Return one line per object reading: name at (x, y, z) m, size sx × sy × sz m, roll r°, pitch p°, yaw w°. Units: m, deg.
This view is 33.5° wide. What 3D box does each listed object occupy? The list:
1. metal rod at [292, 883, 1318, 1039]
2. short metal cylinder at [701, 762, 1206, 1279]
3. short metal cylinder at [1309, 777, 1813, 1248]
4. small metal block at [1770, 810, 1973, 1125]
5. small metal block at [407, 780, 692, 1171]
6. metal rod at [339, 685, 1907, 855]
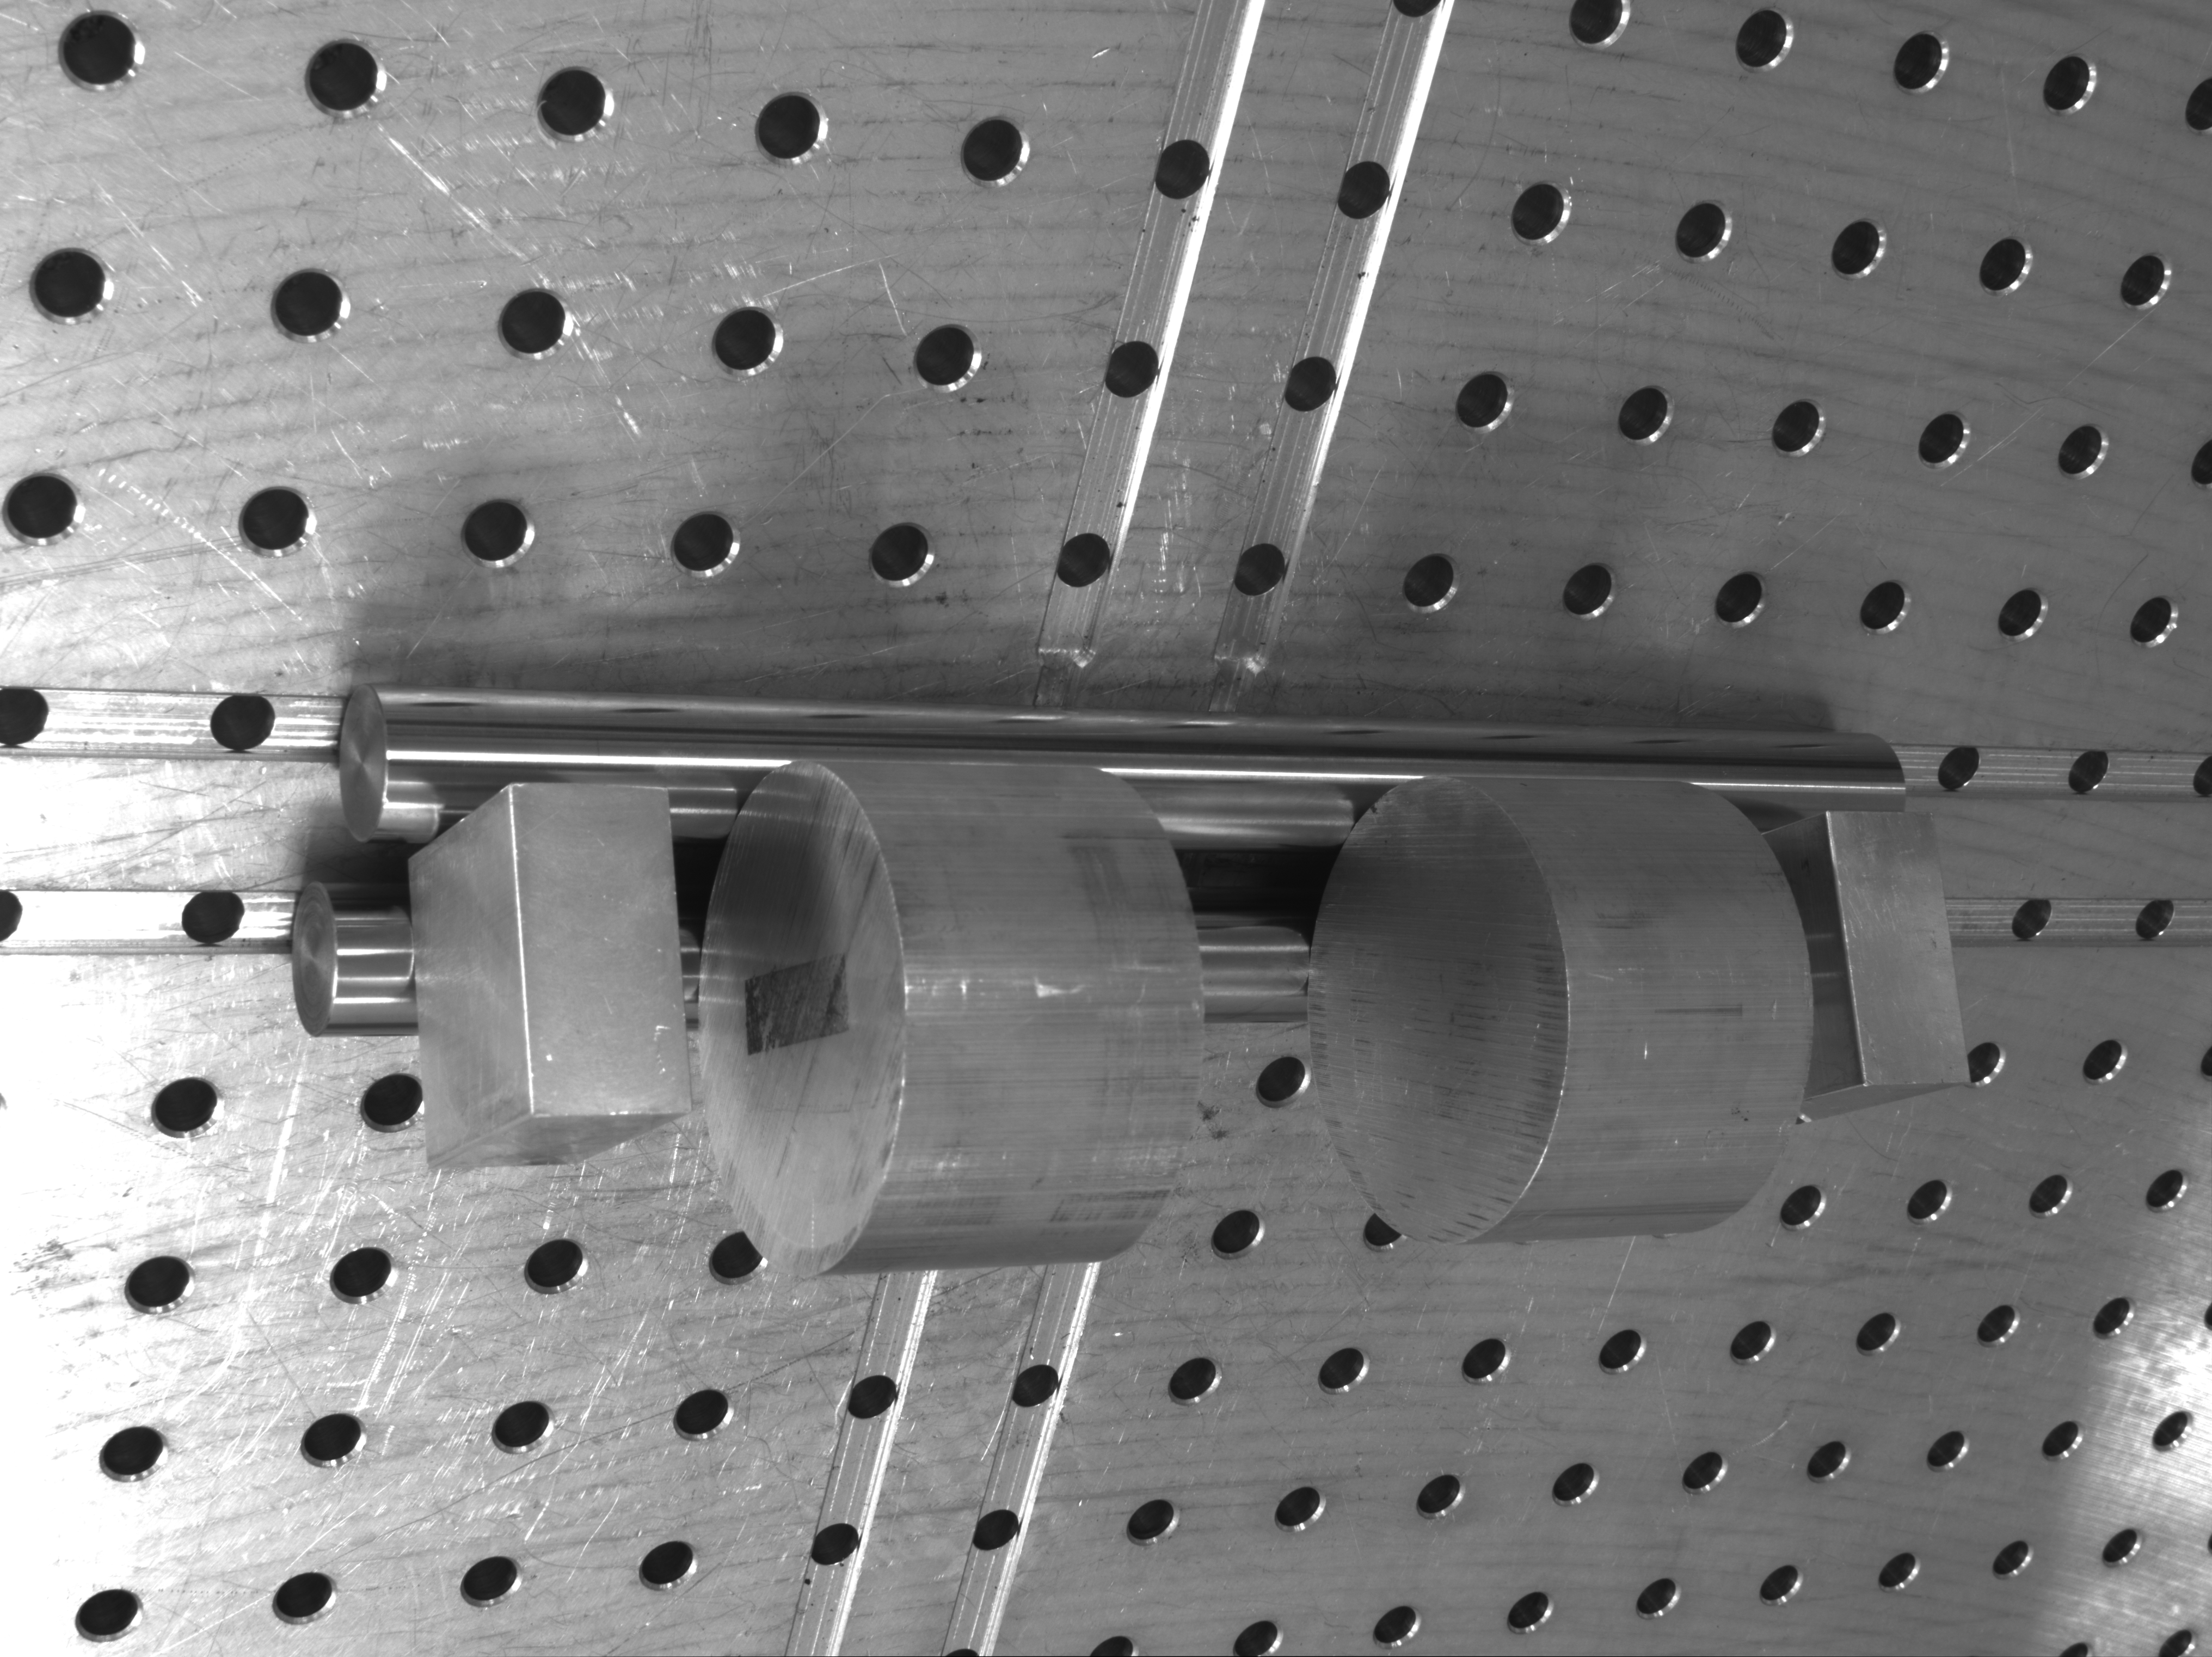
metal rod at (0.006, 0.023, 0.658) m, size 0.301 × 0.025 × 0.025 m, roll 1°, pitch 118°, yaw -29°
short metal cylinder at (-0.026, 0.030, 0.582) m, size 0.050 × 0.080 × 0.080 m, roll 1°, pitch 118°, yaw -28°
short metal cylinder at (0.078, 0.032, 0.638) m, size 0.050 × 0.080 × 0.080 m, roll 1°, pitch 118°, yaw -28°
small metal block at (0.131, 0.027, 0.682) m, size 0.025 × 0.050 × 0.050 m, roll 1°, pitch 77°, yaw -28°
small metal block at (-0.086, 0.023, 0.564) m, size 0.025 × 0.050 × 0.050 m, roll 1°, pitch 76°, yaw -28°
metal rod at (0.016, -0.008, 0.645) m, size 0.301 × 0.025 × 0.025 m, roll 1°, pitch 118°, yaw -29°
